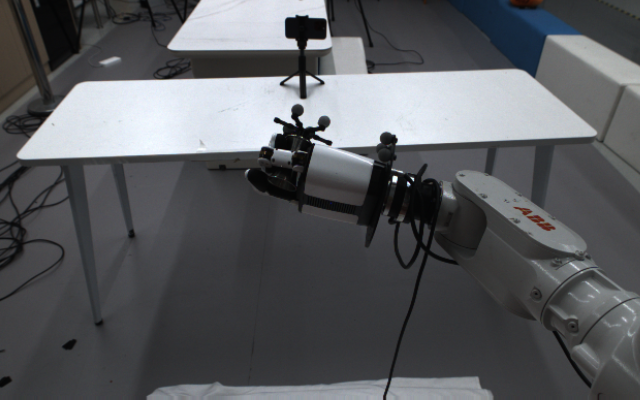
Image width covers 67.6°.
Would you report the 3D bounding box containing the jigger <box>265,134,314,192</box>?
[{"bbox_3d":[-0.040,-0.054,0.671,0.043,0.043,0.071,15,70,18],"label":"jigger"}]
